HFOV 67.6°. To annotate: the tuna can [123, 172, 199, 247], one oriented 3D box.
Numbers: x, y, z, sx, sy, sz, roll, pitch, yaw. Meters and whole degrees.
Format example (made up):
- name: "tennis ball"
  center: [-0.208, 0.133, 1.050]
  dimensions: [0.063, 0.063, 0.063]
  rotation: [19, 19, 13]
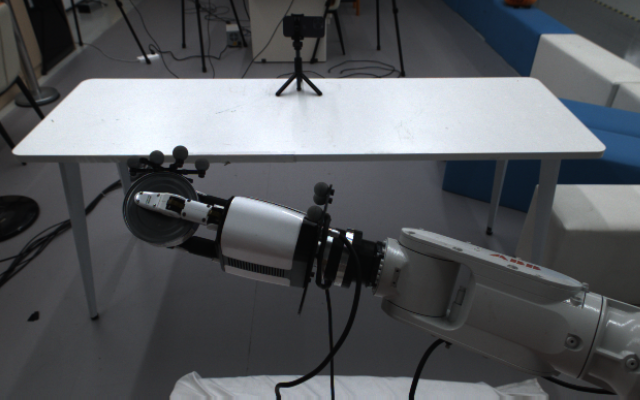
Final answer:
- name: "tuna can"
  center: [-0.179, 0.012, 0.565]
  dimensions: [0.085, 0.034, 0.085]
  rotation: [1, 69, -4]
